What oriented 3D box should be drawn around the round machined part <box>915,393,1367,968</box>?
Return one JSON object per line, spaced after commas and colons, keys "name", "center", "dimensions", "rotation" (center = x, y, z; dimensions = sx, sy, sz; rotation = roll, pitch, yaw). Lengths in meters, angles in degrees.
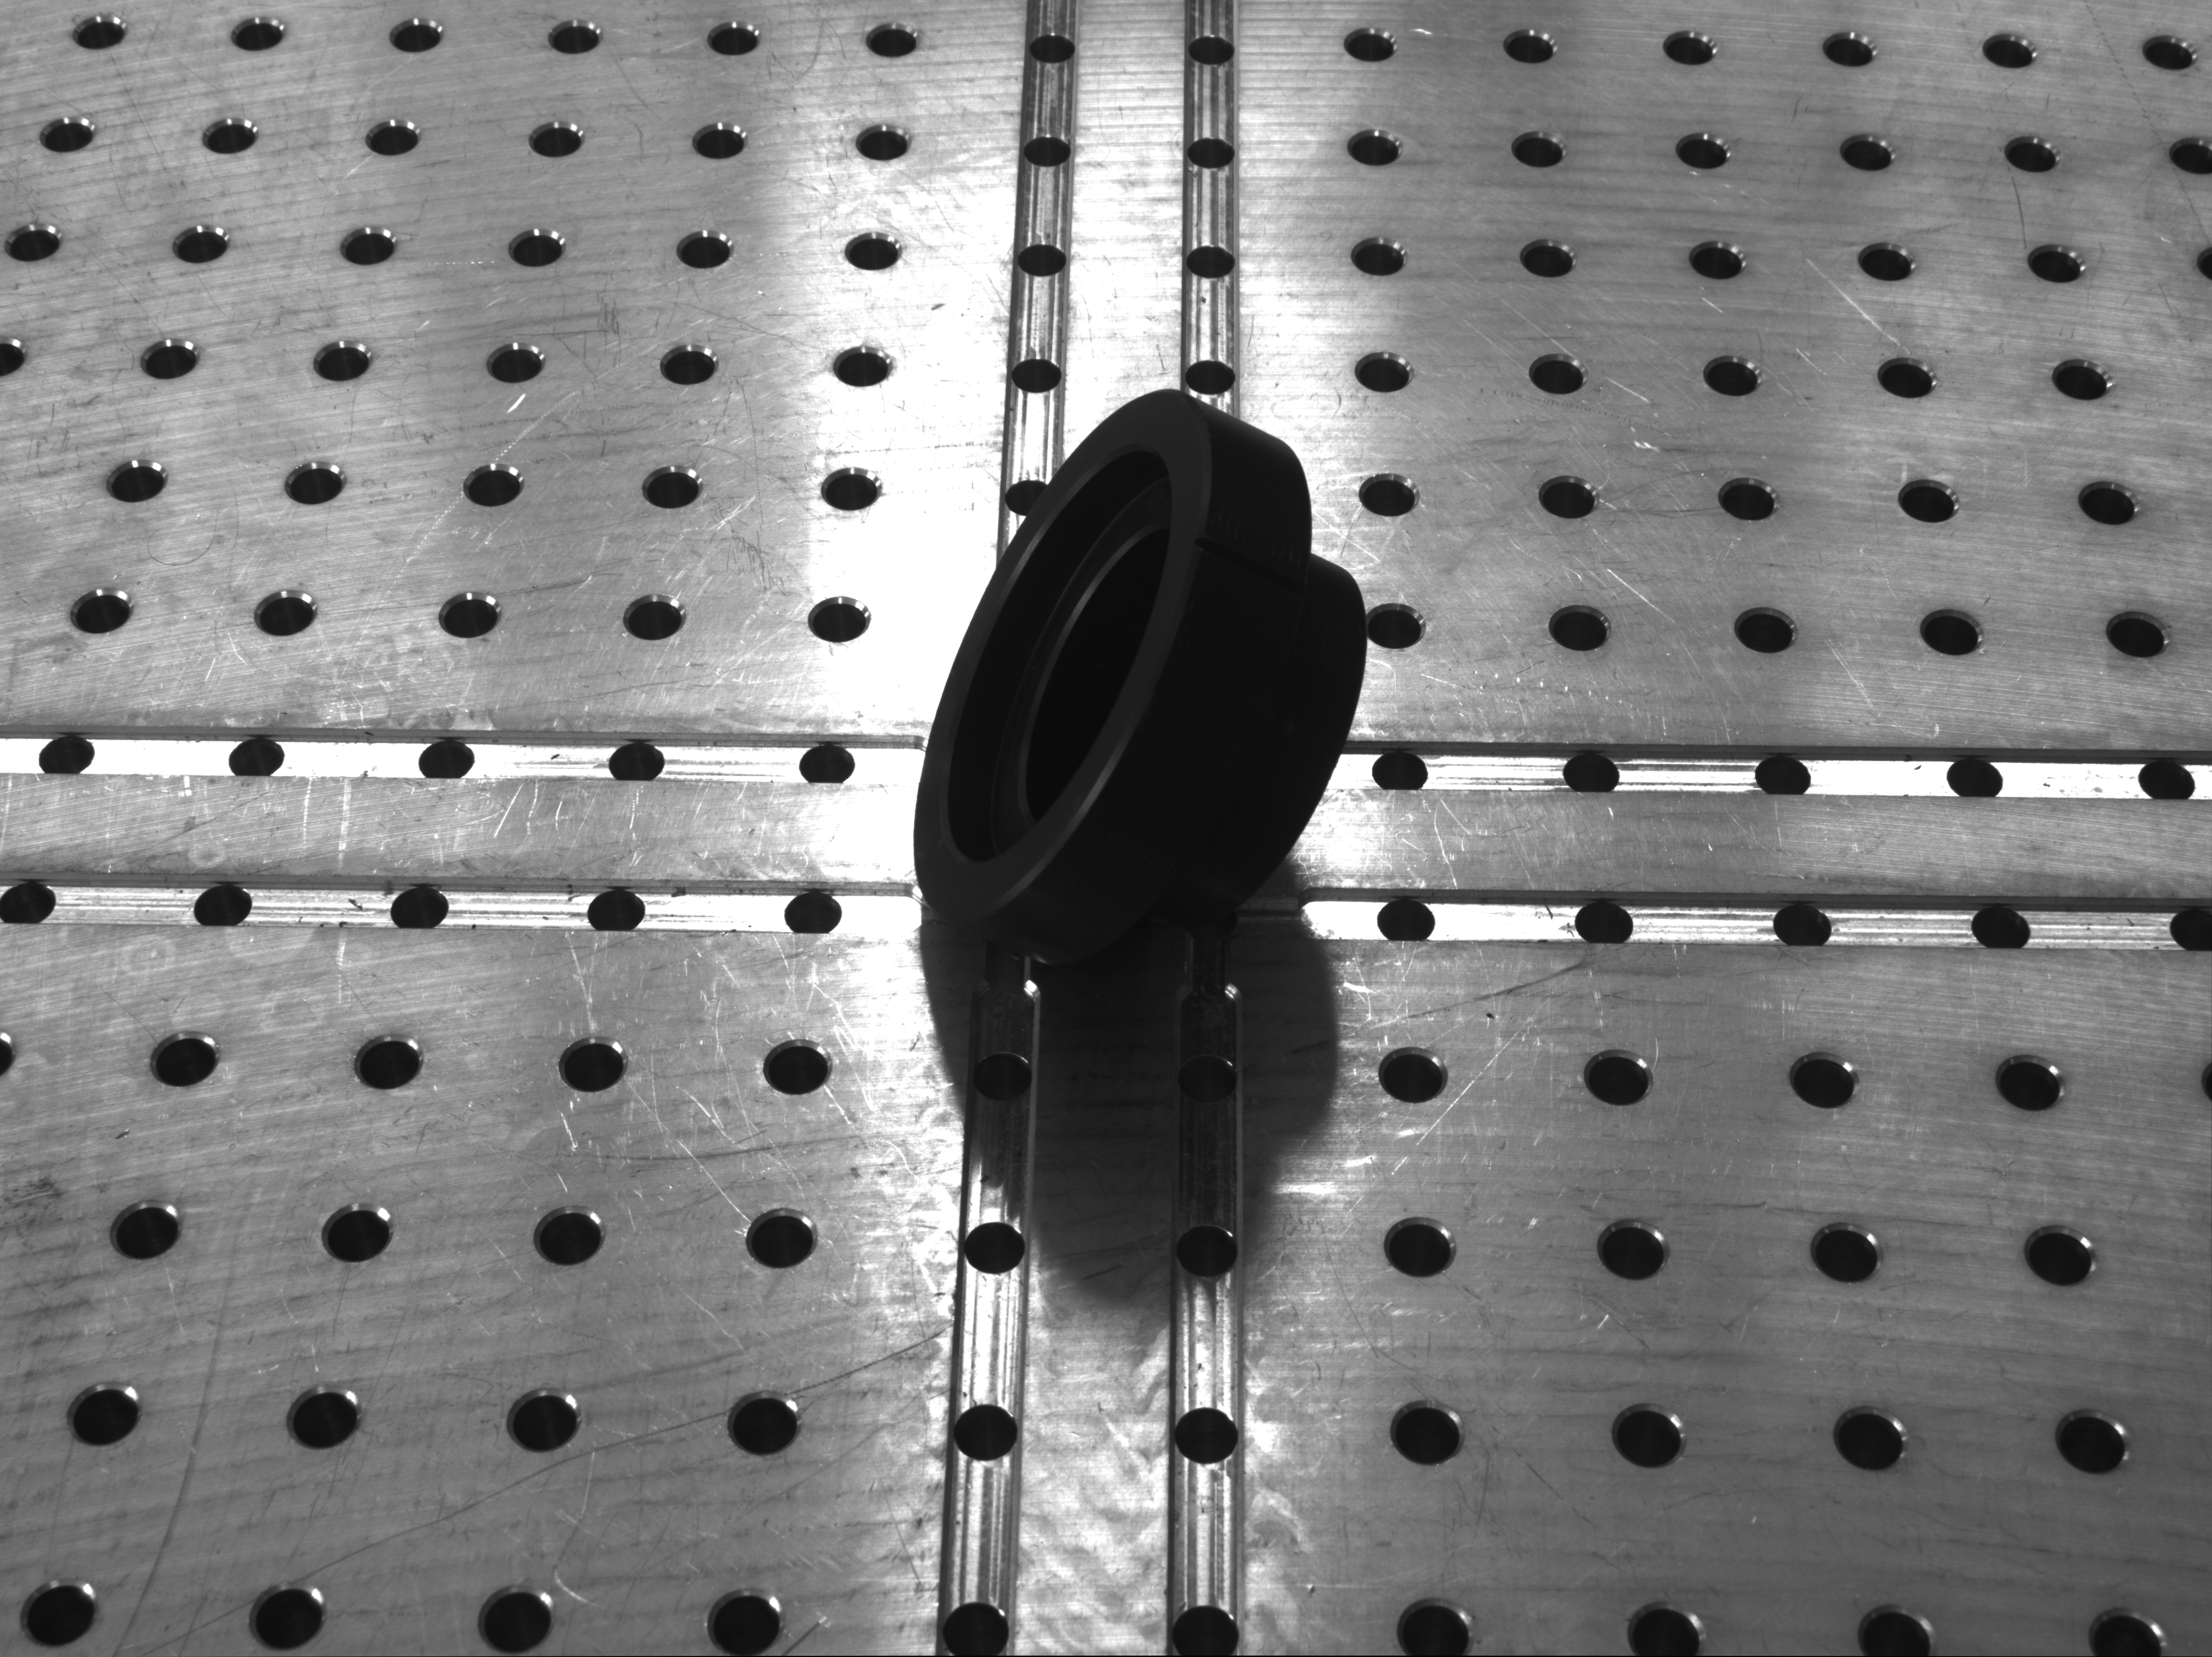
{"name": "round machined part", "center": [0.009, -0.021, 0.629], "dimensions": [0.042, 0.098, 0.098], "rotation": [23, 46, -21]}
